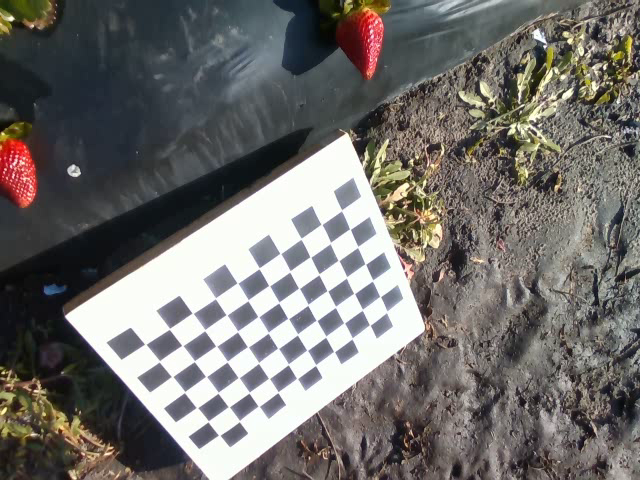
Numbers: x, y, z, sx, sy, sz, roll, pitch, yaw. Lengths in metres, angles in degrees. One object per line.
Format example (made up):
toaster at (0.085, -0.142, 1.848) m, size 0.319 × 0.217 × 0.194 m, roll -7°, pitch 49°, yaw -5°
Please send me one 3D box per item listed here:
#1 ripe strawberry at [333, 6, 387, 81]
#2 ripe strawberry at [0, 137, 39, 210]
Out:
ripe strawberry at (0.030, -0.147, 0.479) m, size 0.042 × 0.058 × 0.042 m, roll -17°, pitch 19°, yaw -27°
ripe strawberry at (-0.210, -0.043, 0.428) m, size 0.045 × 0.055 × 0.041 m, roll -30°, pitch 3°, yaw -20°
